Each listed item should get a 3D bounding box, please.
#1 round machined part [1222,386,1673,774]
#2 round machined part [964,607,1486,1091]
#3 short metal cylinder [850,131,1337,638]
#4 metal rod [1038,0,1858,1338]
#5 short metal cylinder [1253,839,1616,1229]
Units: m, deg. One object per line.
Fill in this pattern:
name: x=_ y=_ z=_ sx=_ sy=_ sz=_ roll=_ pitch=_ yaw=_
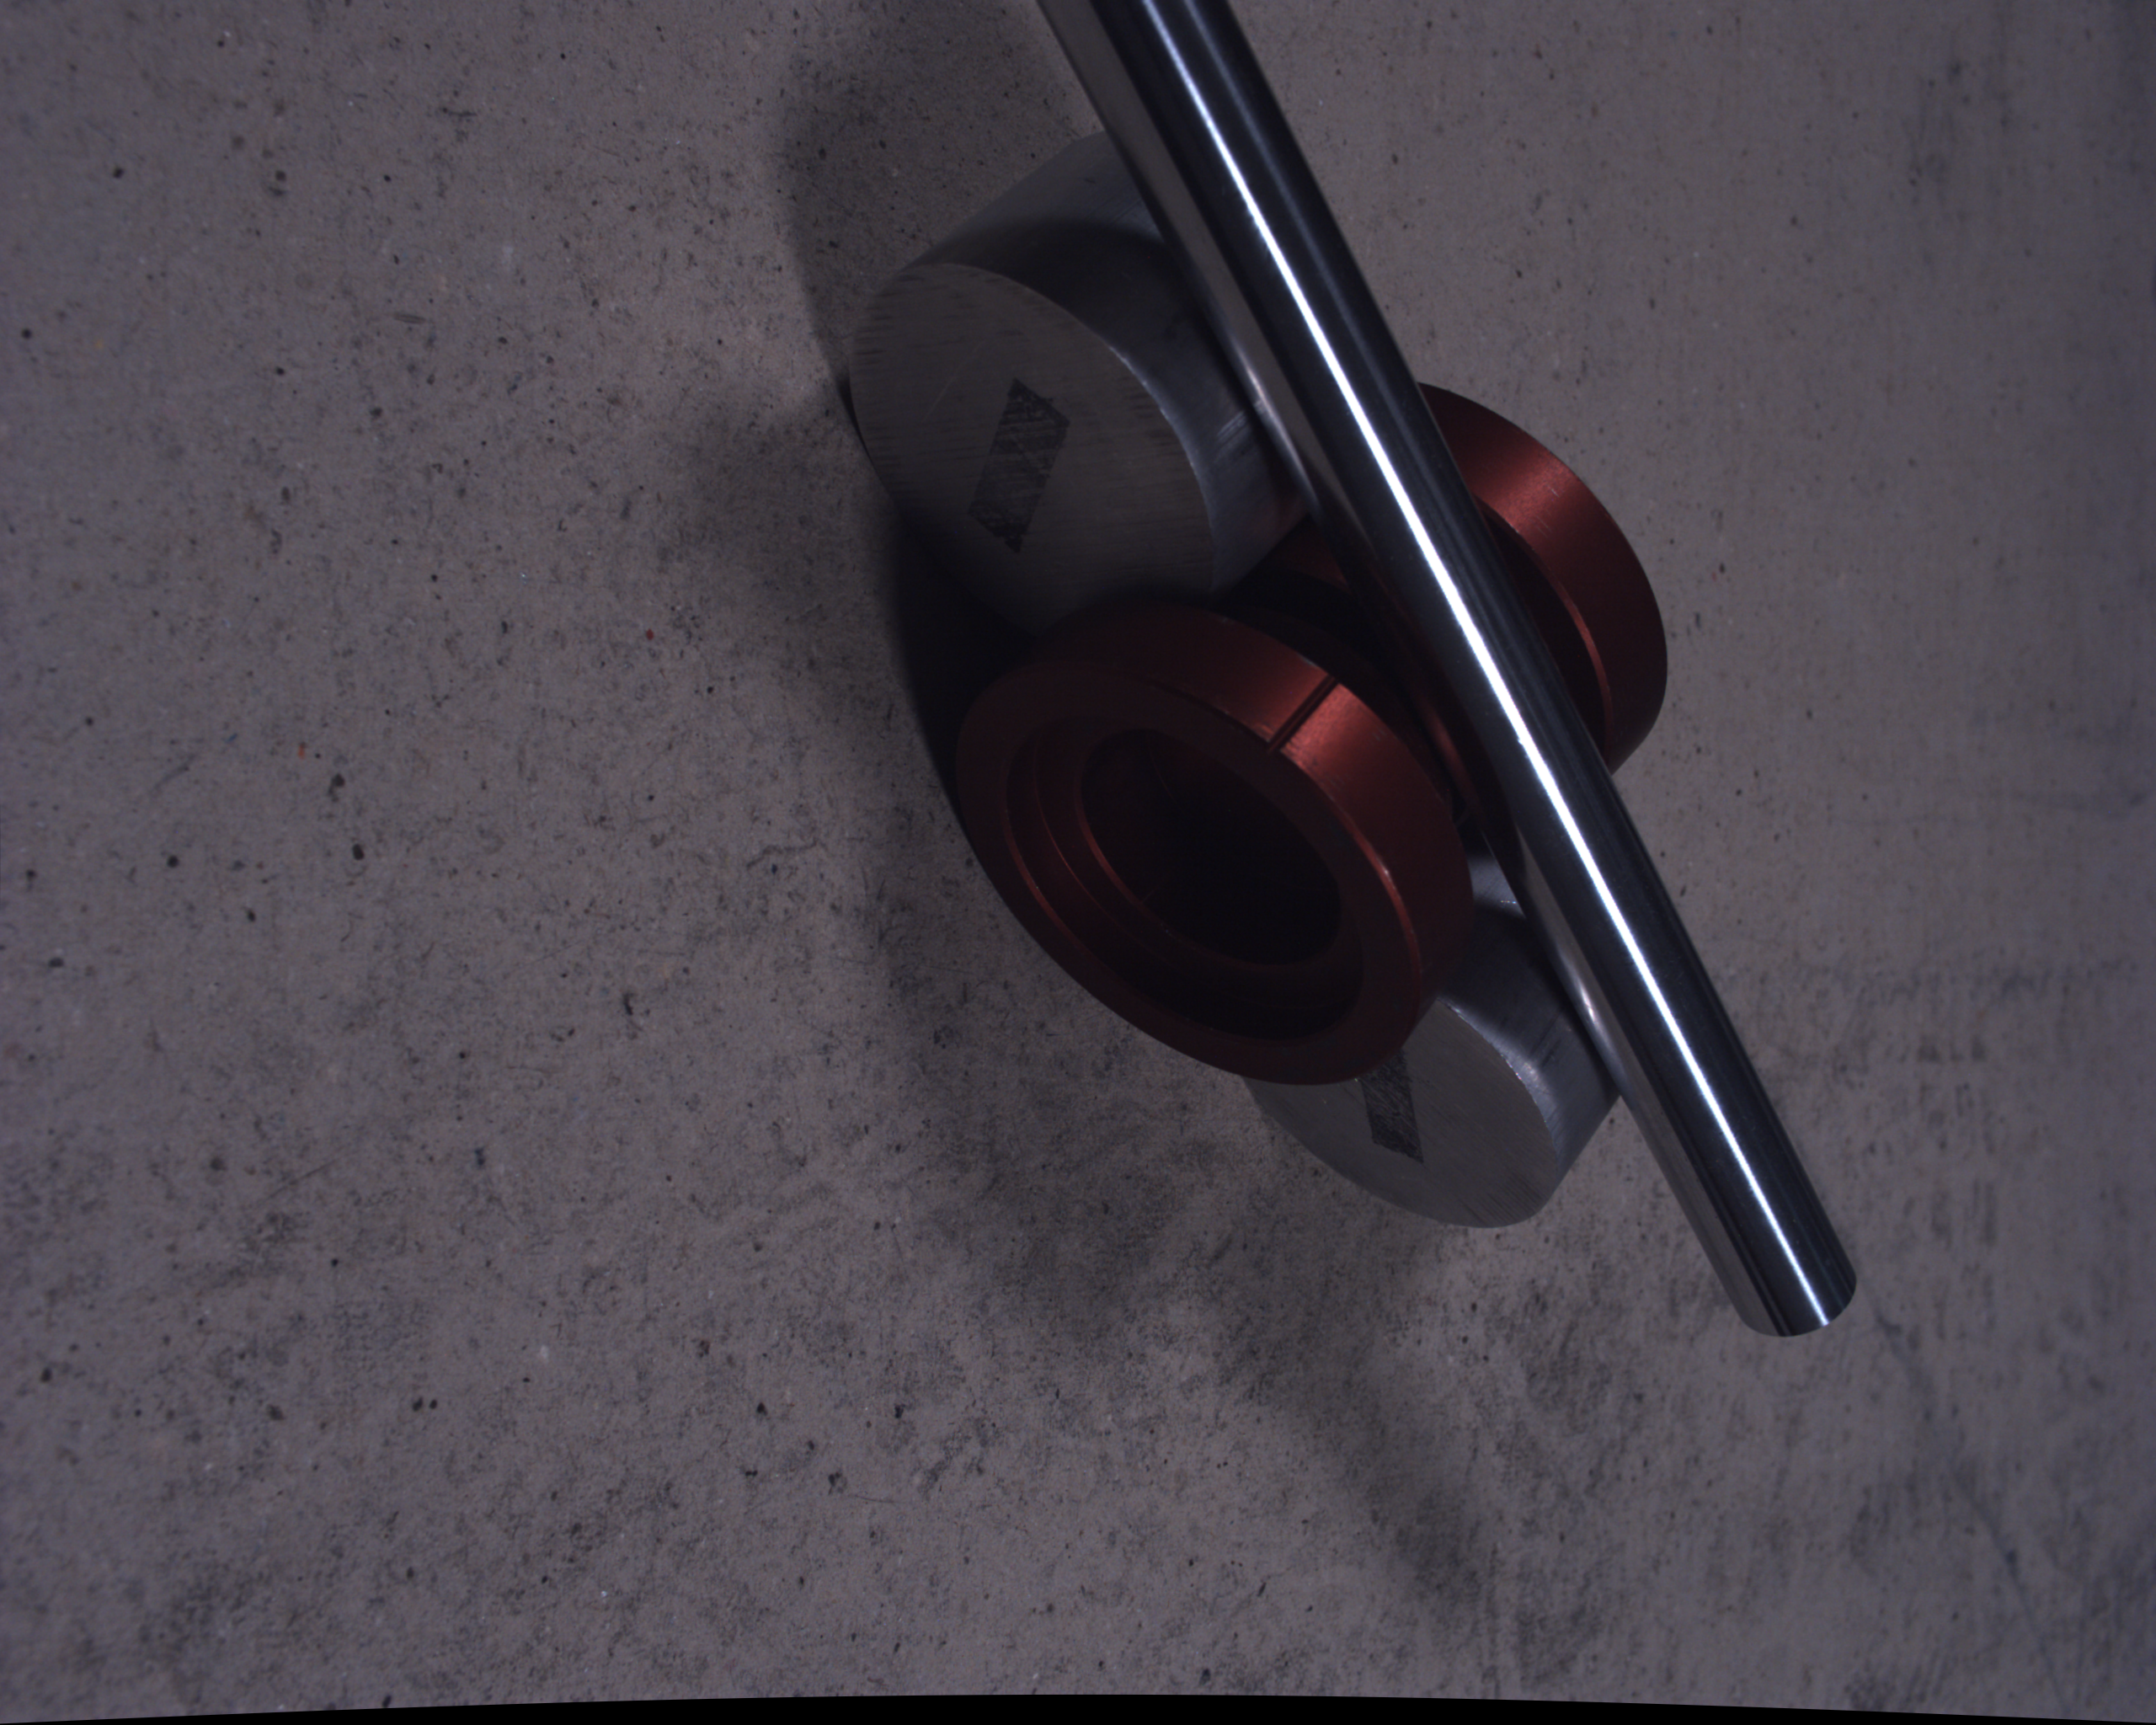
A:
round machined part: x=0.064 y=-0.043 z=0.414 sx=0.042 sy=0.098 sz=0.098 roll=-45 pitch=117 yaw=-26
round machined part: x=0.031 y=-0.007 z=0.385 sx=0.042 sy=0.098 sz=0.098 roll=-49 pitch=120 yaw=-33
short metal cylinder: x=0.006 y=-0.084 z=0.377 sx=0.050 sy=0.080 sz=0.080 roll=-47 pitch=118 yaw=-30
metal rod: x=0.075 y=-0.026 z=0.367 sx=0.025 sy=0.025 sz=0.299 roll=-48 pitch=119 yaw=-29
short metal cylinder: x=0.077 y=0.030 z=0.437 sx=0.050 sy=0.080 sz=0.080 roll=-47 pitch=118 yaw=-30
